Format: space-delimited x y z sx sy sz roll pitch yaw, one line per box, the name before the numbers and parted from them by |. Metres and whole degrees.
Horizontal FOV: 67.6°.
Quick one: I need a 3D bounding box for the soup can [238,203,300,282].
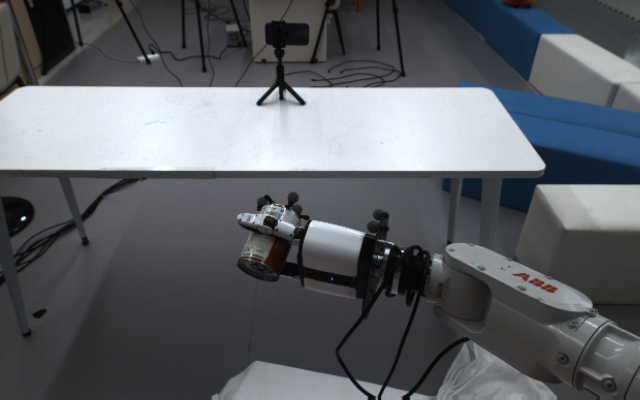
soup can | -0.077 0.064 0.737 0.067 0.067 0.101 12 59 14
